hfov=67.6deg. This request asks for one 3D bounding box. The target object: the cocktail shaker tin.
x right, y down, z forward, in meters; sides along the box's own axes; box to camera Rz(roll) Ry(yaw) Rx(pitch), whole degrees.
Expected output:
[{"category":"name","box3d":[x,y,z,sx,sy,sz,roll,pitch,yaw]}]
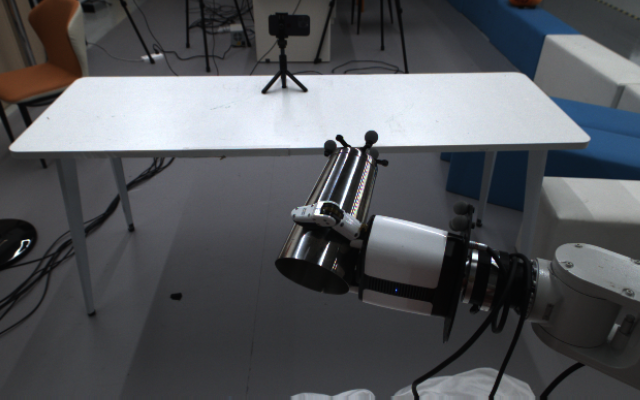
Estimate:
[{"category":"cocktail shaker tin","box3d":[0.017,0.020,0.599,0.093,0.093,0.170,14,60,16]}]
